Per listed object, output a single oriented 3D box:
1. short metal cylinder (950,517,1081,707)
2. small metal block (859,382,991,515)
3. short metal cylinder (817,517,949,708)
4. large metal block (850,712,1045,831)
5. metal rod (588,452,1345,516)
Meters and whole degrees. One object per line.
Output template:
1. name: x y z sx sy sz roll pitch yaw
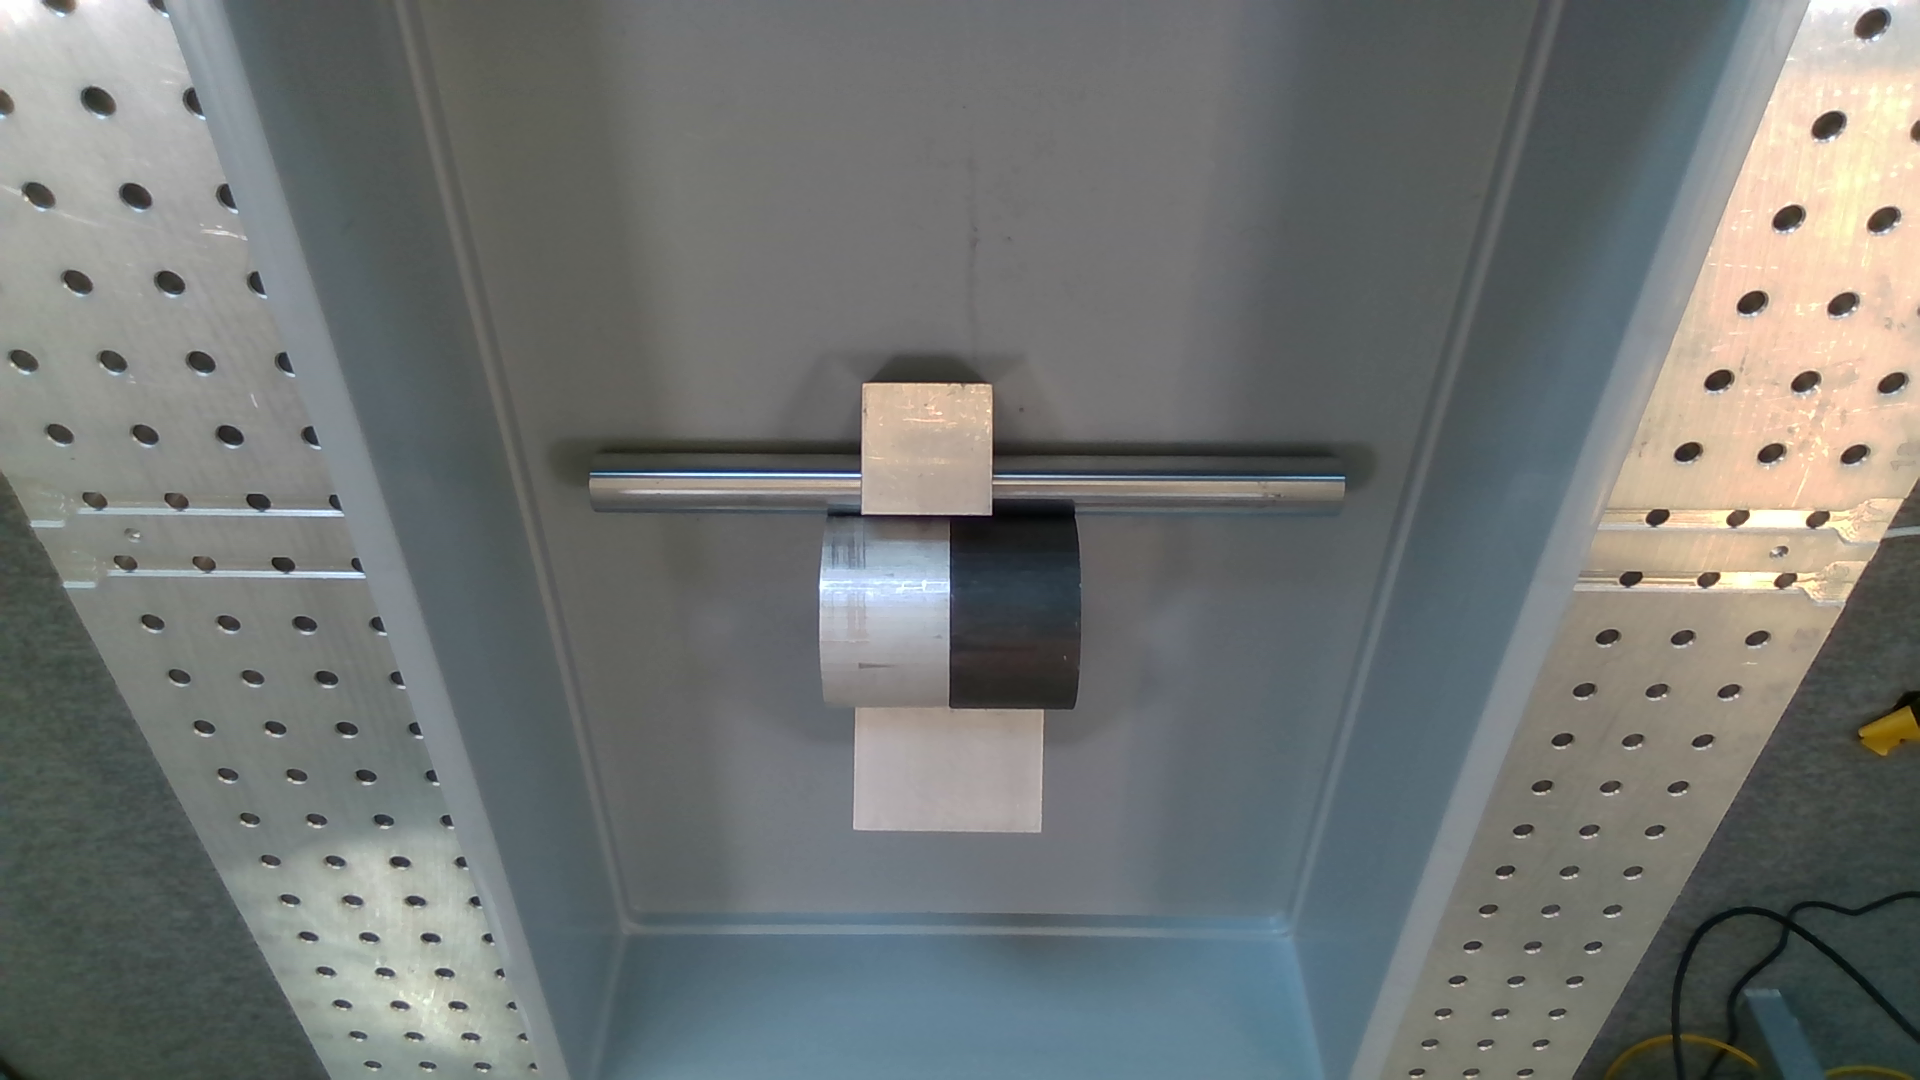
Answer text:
1. short metal cylinder: 0.021 0.030 0.567 0.050 0.080 0.080 0 130 0
2. small metal block: -0.013 -0.036 0.533 0.050 0.025 0.050 0 95 -1
3. short metal cylinder: -0.030 0.030 0.567 0.050 0.080 0.080 0 130 0
4. large metal block: -0.005 0.094 0.612 0.080 0.080 0.050 1 92 0
5. metal rod: 0.003 -0.023 0.558 0.300 0.025 0.025 0 130 0
